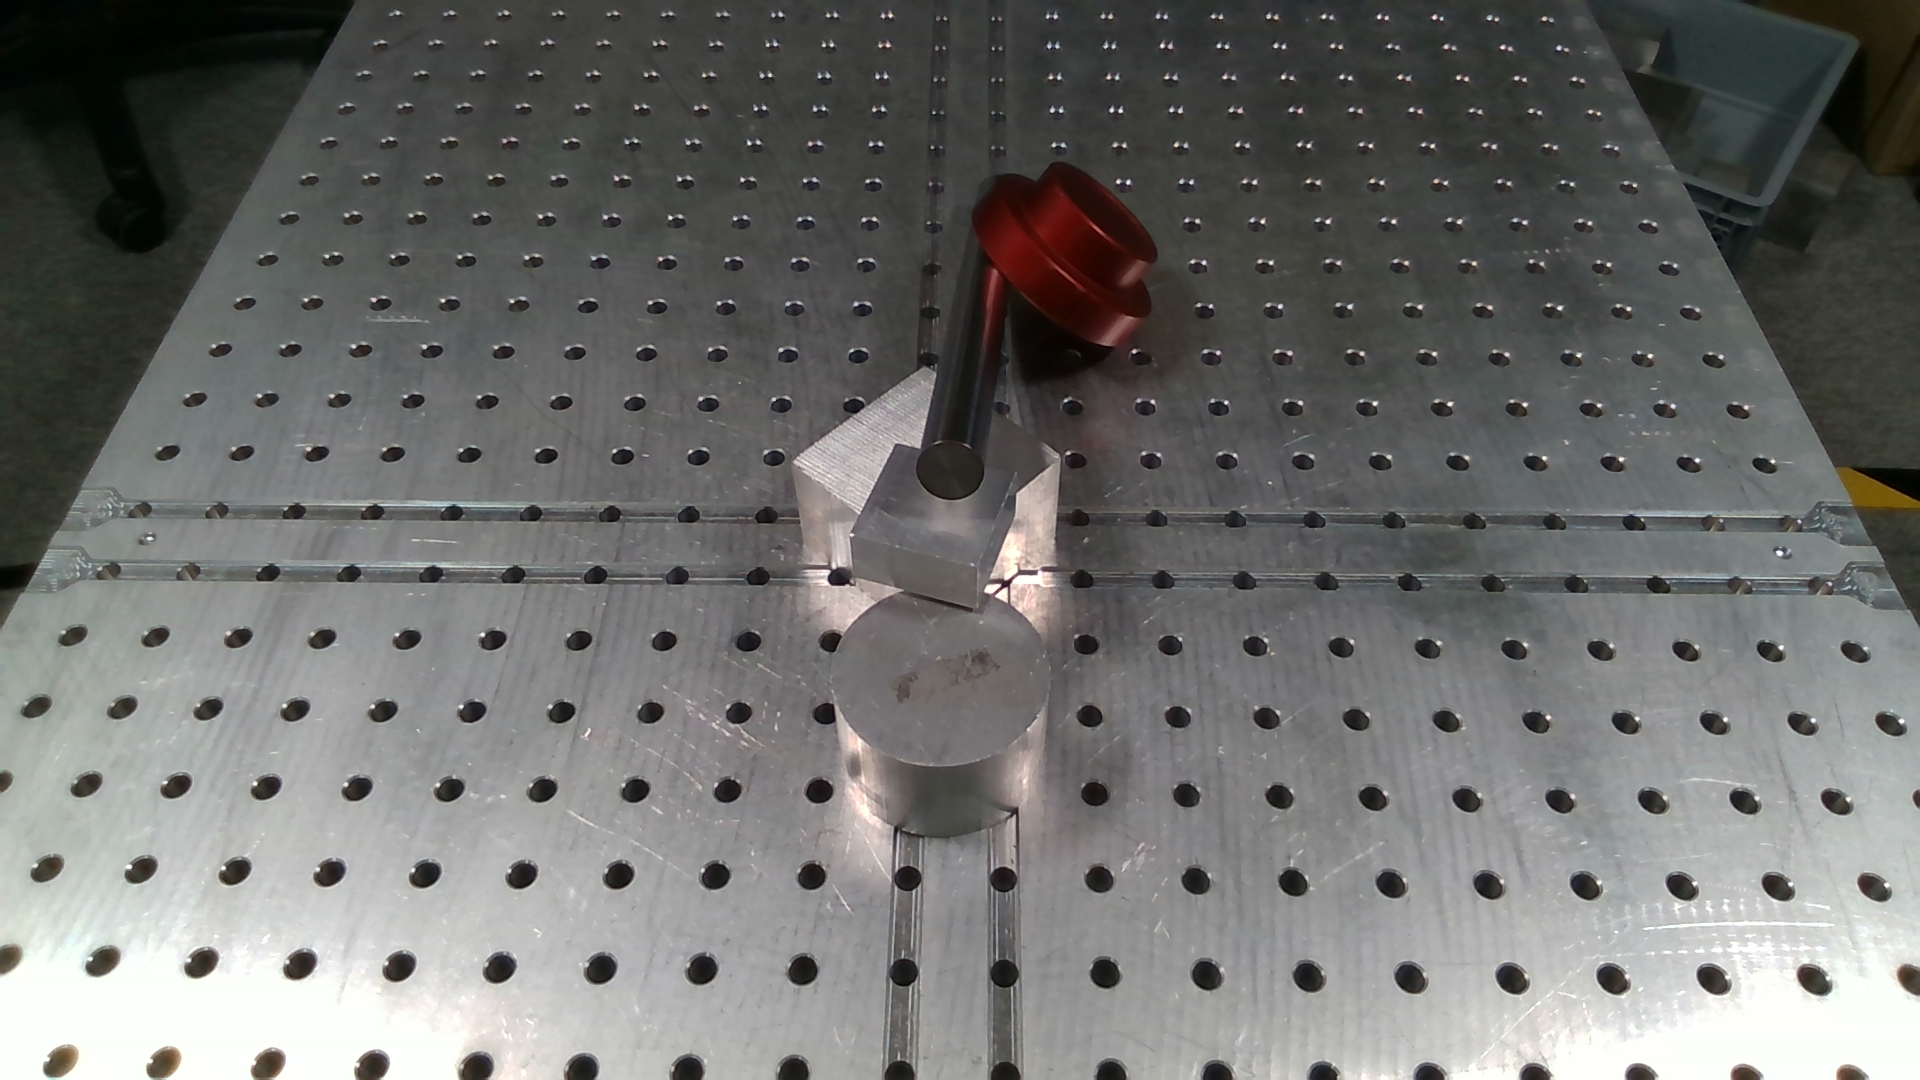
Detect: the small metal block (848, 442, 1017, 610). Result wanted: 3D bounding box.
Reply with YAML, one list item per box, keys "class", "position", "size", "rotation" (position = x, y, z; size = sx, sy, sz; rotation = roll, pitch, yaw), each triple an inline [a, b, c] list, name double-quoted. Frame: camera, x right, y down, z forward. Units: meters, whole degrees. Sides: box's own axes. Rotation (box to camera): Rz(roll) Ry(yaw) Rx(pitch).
- class: "small metal block"
  position: [-0.010, -0.006, 0.527]
  size: [0.050, 0.025, 0.050]
  rotation: [14, 52, 12]

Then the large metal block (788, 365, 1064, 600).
- class: "large metal block"
  position: [-0.014, -0.017, 0.585]
  size: [0.080, 0.050, 0.080]
  rotation: [36, 59, 26]

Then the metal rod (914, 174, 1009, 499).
- class: "metal rod"
  position: [0.009, -0.106, 0.622]
  size: [0.025, 0.025, 0.299]
  rotation: [4, 33, 3]

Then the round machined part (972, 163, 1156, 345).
- class: "round machined part"
  position: [0.056, -0.144, 0.664]
  size: [0.098, 0.042, 0.098]
  rotation: [32, 30, -21]

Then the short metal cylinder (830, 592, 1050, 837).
- class: "short metal cylinder"
  position: [-0.007, 0.064, 0.520]
  size: [0.080, 0.050, 0.080]
  rotation: [0, 50, 0]
